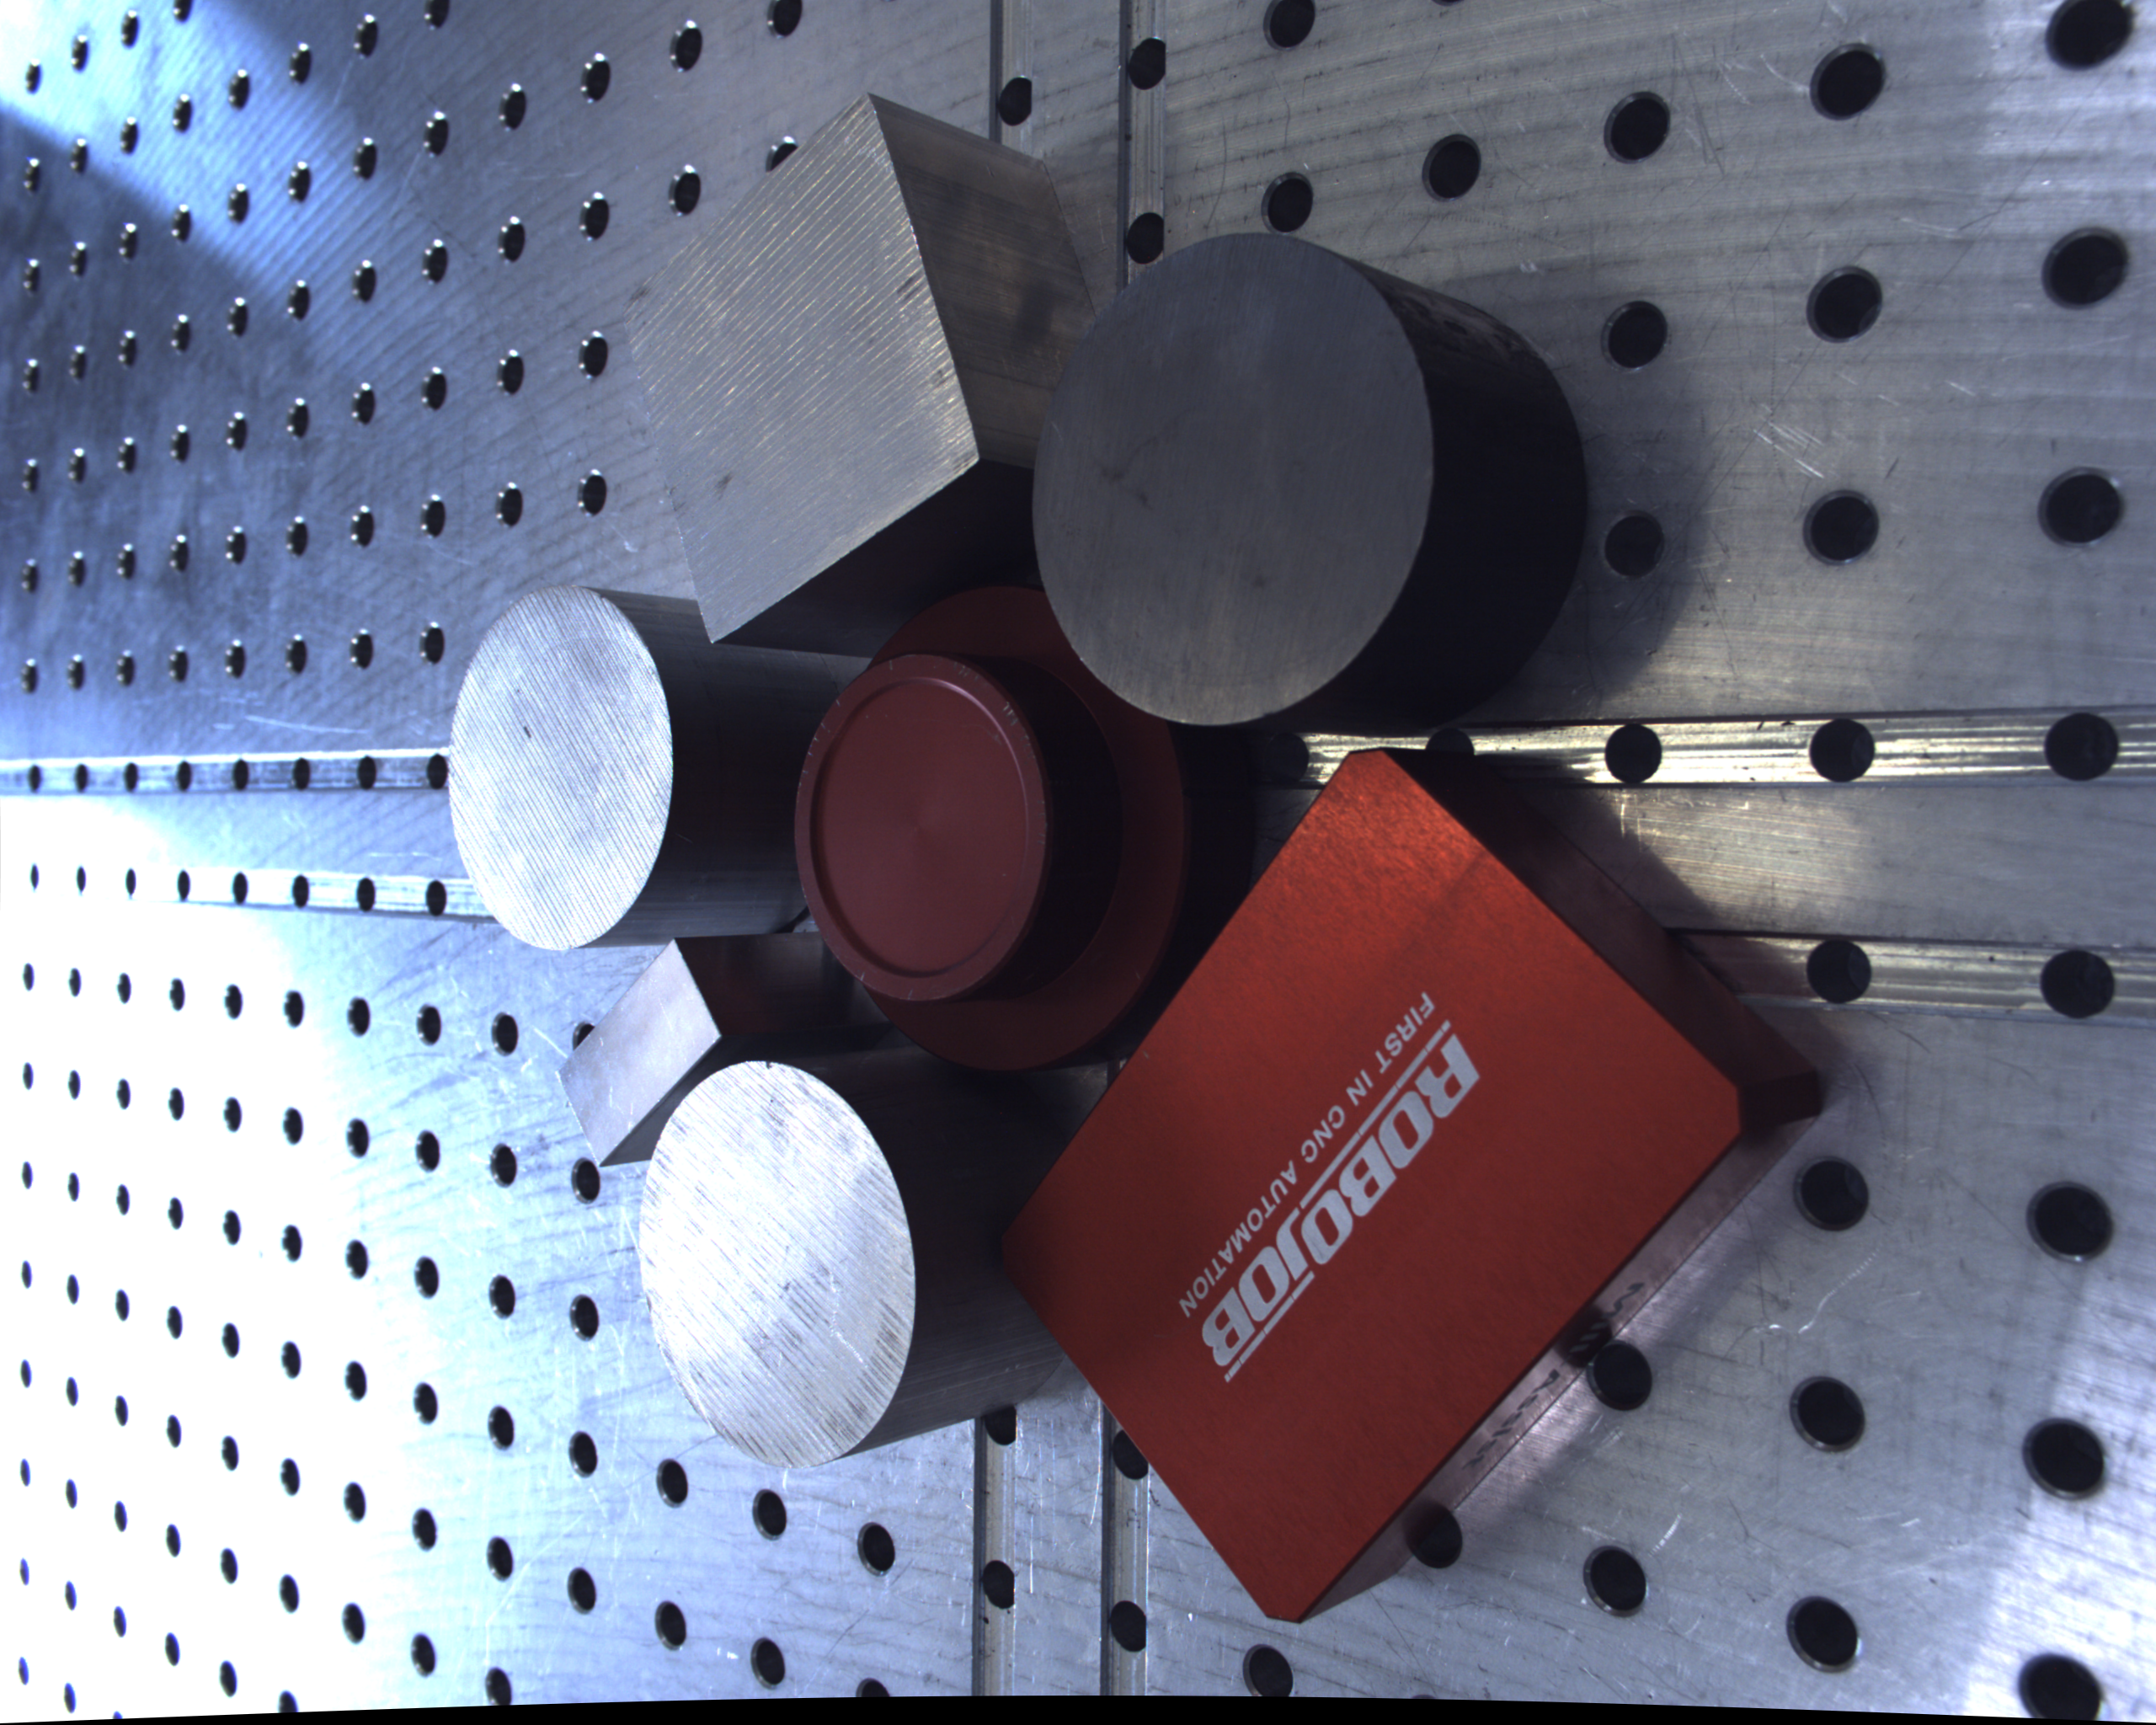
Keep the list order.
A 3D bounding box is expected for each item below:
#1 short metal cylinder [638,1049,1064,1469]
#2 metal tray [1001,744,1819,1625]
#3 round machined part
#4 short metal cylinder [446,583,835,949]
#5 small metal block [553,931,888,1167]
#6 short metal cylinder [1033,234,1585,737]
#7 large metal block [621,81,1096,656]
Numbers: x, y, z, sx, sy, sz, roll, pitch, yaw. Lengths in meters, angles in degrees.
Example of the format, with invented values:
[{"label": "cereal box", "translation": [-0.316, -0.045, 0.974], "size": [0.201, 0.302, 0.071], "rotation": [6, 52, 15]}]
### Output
[{"label": "short metal cylinder", "translation": [-0.045, 0.079, 0.430], "size": [0.080, 0.050, 0.080], "rotation": [0, 90, 40]}, {"label": "metal tray", "translation": [0.051, 0.055, 0.363], "size": [0.090, 0.030, 0.129], "rotation": [48, 118, 29]}, {"label": "round machined part", "translation": [-0.018, -0.007, 0.412], "size": [0.098, 0.042, 0.097], "rotation": [0, 90, 40]}, {"label": "short metal cylinder", "translation": [-0.098, -0.021, 0.473], "size": [0.080, 0.050, 0.080], "rotation": [0, 90, 40]}, {"label": "small metal block", "translation": [-0.077, 0.040, 0.456], "size": [0.050, 0.050, 0.025], "rotation": [-45, 63, 31]}, {"label": "short metal cylinder", "translation": [0.039, -0.062, 0.360], "size": [0.080, 0.050, 0.080], "rotation": [0, 90, 40]}, {"label": "large metal block", "translation": [-0.041, -0.096, 0.427], "size": [0.080, 0.050, 0.080], "rotation": [-27, 73, 37]}]
